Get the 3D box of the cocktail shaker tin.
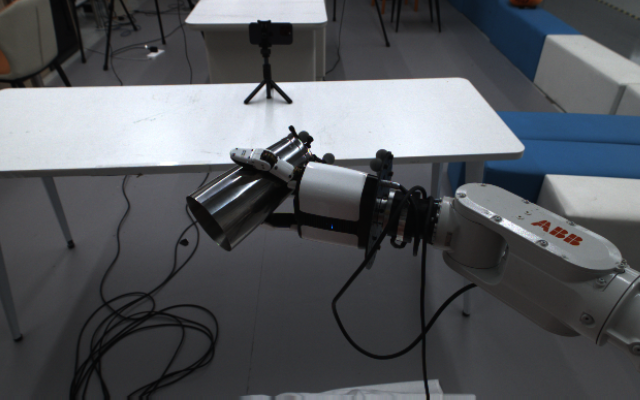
[{"bbox_3d":[-0.088,-0.021,0.672,0.170,0.093,0.093,-38,50,-24],"label":"cocktail shaker tin"}]
